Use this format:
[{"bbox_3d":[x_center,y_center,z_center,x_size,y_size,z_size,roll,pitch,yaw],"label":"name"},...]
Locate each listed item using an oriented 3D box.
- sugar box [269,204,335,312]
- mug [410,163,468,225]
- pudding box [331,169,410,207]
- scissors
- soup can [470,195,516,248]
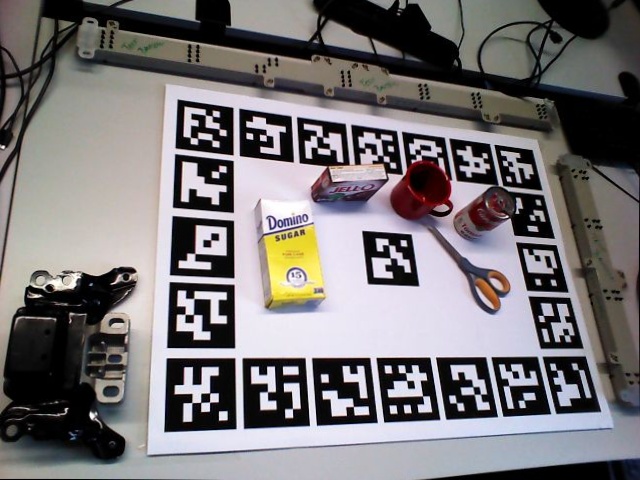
[{"bbox_3d":[-0.030,0.029,0.850,0.093,0.045,0.175,1,72,-17],"label":"sugar box"},{"bbox_3d":[0.227,-0.078,0.957,0.093,0.082,0.117,-34,83,-25],"label":"mug"},{"bbox_3d":[0.088,-0.091,0.904,0.113,0.090,0.038,-5,78,-22],"label":"pudding box"},{"bbox_3d":[0.310,0.067,0.967,0.087,0.016,0.203,-41,88,-18],"label":"scissors"},{"bbox_3d":[0.338,-0.033,0.977,0.068,0.103,0.067,7,67,-16],"label":"soup can"}]
